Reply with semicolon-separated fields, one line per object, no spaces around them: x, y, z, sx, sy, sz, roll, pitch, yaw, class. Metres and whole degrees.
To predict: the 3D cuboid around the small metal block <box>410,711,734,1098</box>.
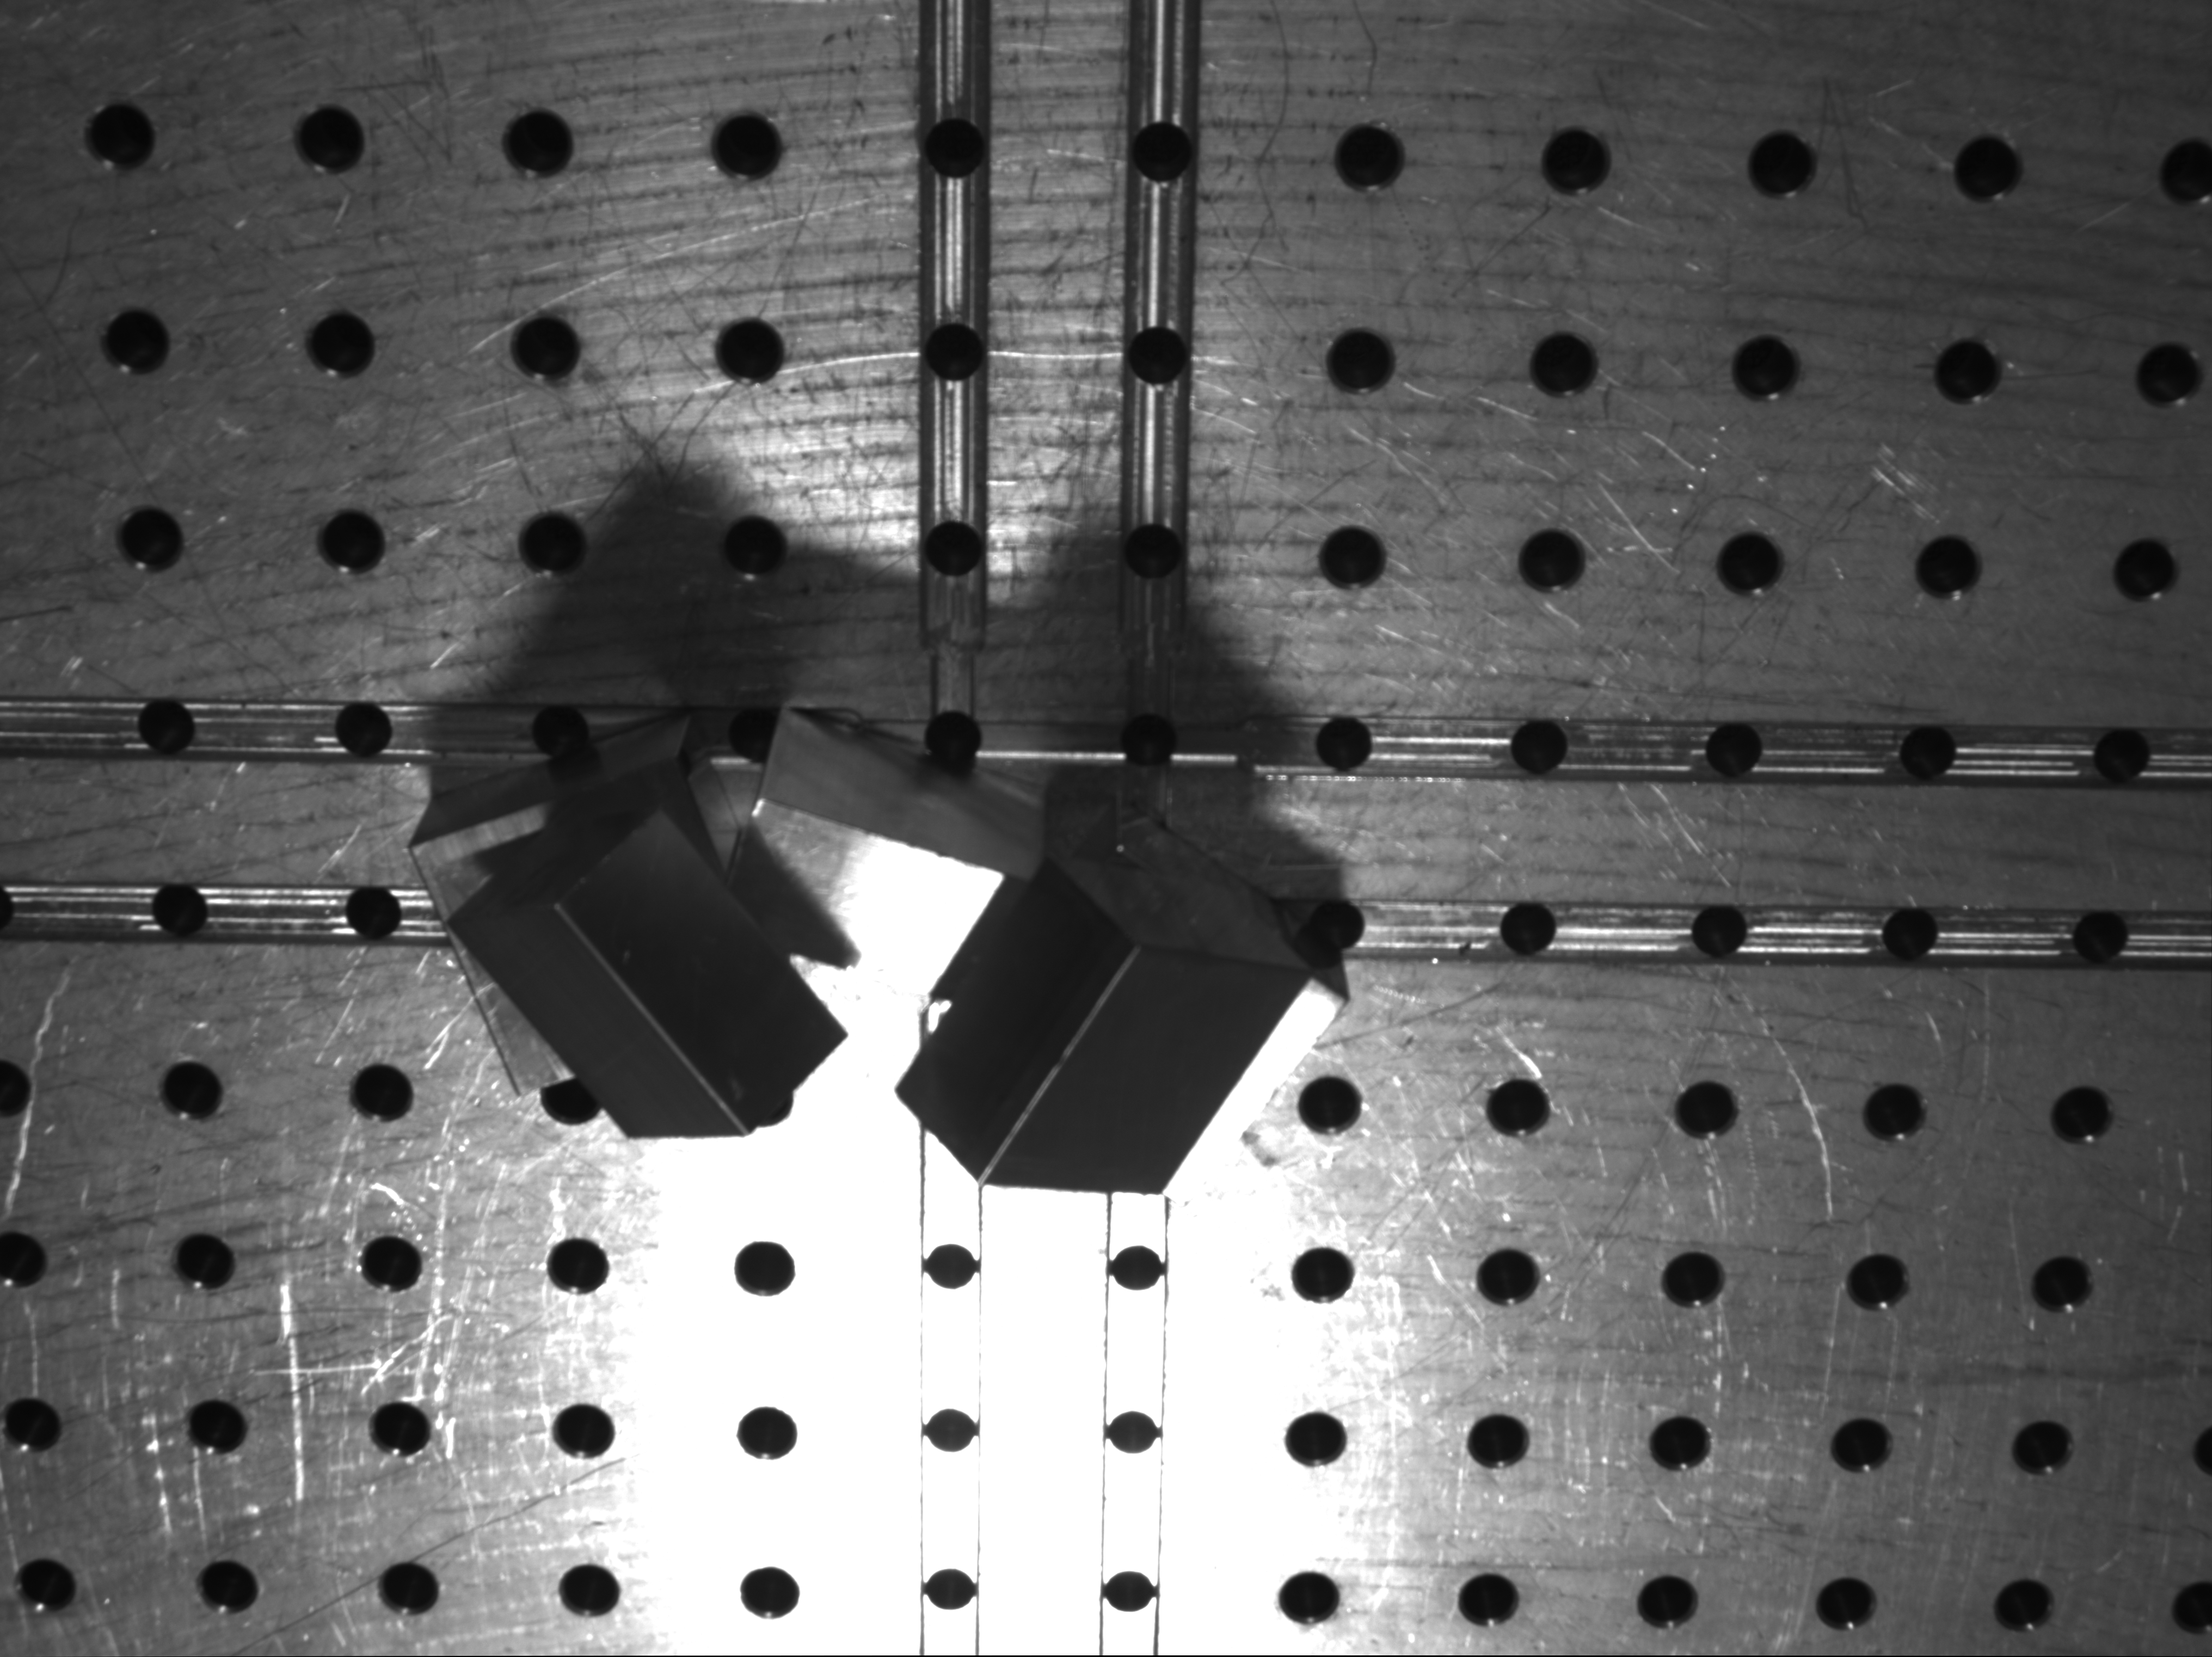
-0.088;0.013;0.650;0.050;0.025;0.050;-18;109;6;small metal block

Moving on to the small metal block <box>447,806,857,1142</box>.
-0.076;0.025;0.611;0.025;0.050;0.050;-46;108;-25;small metal block

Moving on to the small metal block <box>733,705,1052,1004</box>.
-0.037;0.005;0.634;0.050;0.050;0.025;18;109;-7;small metal block

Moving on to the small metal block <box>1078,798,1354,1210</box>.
0.009;0.031;0.657;0.050;0.025;0.050;34;106;-12;small metal block

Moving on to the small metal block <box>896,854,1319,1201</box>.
0.001;0.034;0.617;0.050;0.025;0.050;11;117;-52;small metal block
